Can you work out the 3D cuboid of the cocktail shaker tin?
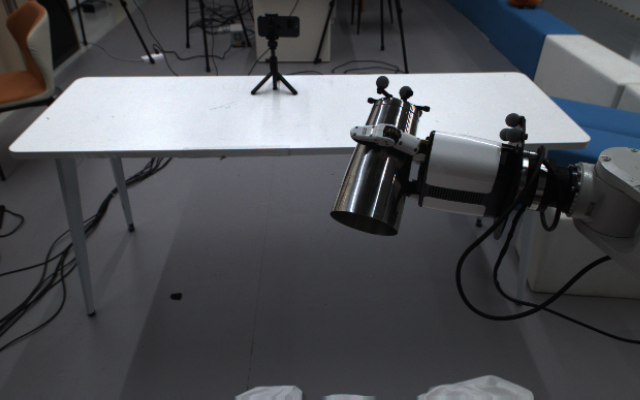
[{"bbox_3d":[0.082,-0.047,0.648,0.093,0.093,0.170,13,75,16],"label":"cocktail shaker tin"}]
